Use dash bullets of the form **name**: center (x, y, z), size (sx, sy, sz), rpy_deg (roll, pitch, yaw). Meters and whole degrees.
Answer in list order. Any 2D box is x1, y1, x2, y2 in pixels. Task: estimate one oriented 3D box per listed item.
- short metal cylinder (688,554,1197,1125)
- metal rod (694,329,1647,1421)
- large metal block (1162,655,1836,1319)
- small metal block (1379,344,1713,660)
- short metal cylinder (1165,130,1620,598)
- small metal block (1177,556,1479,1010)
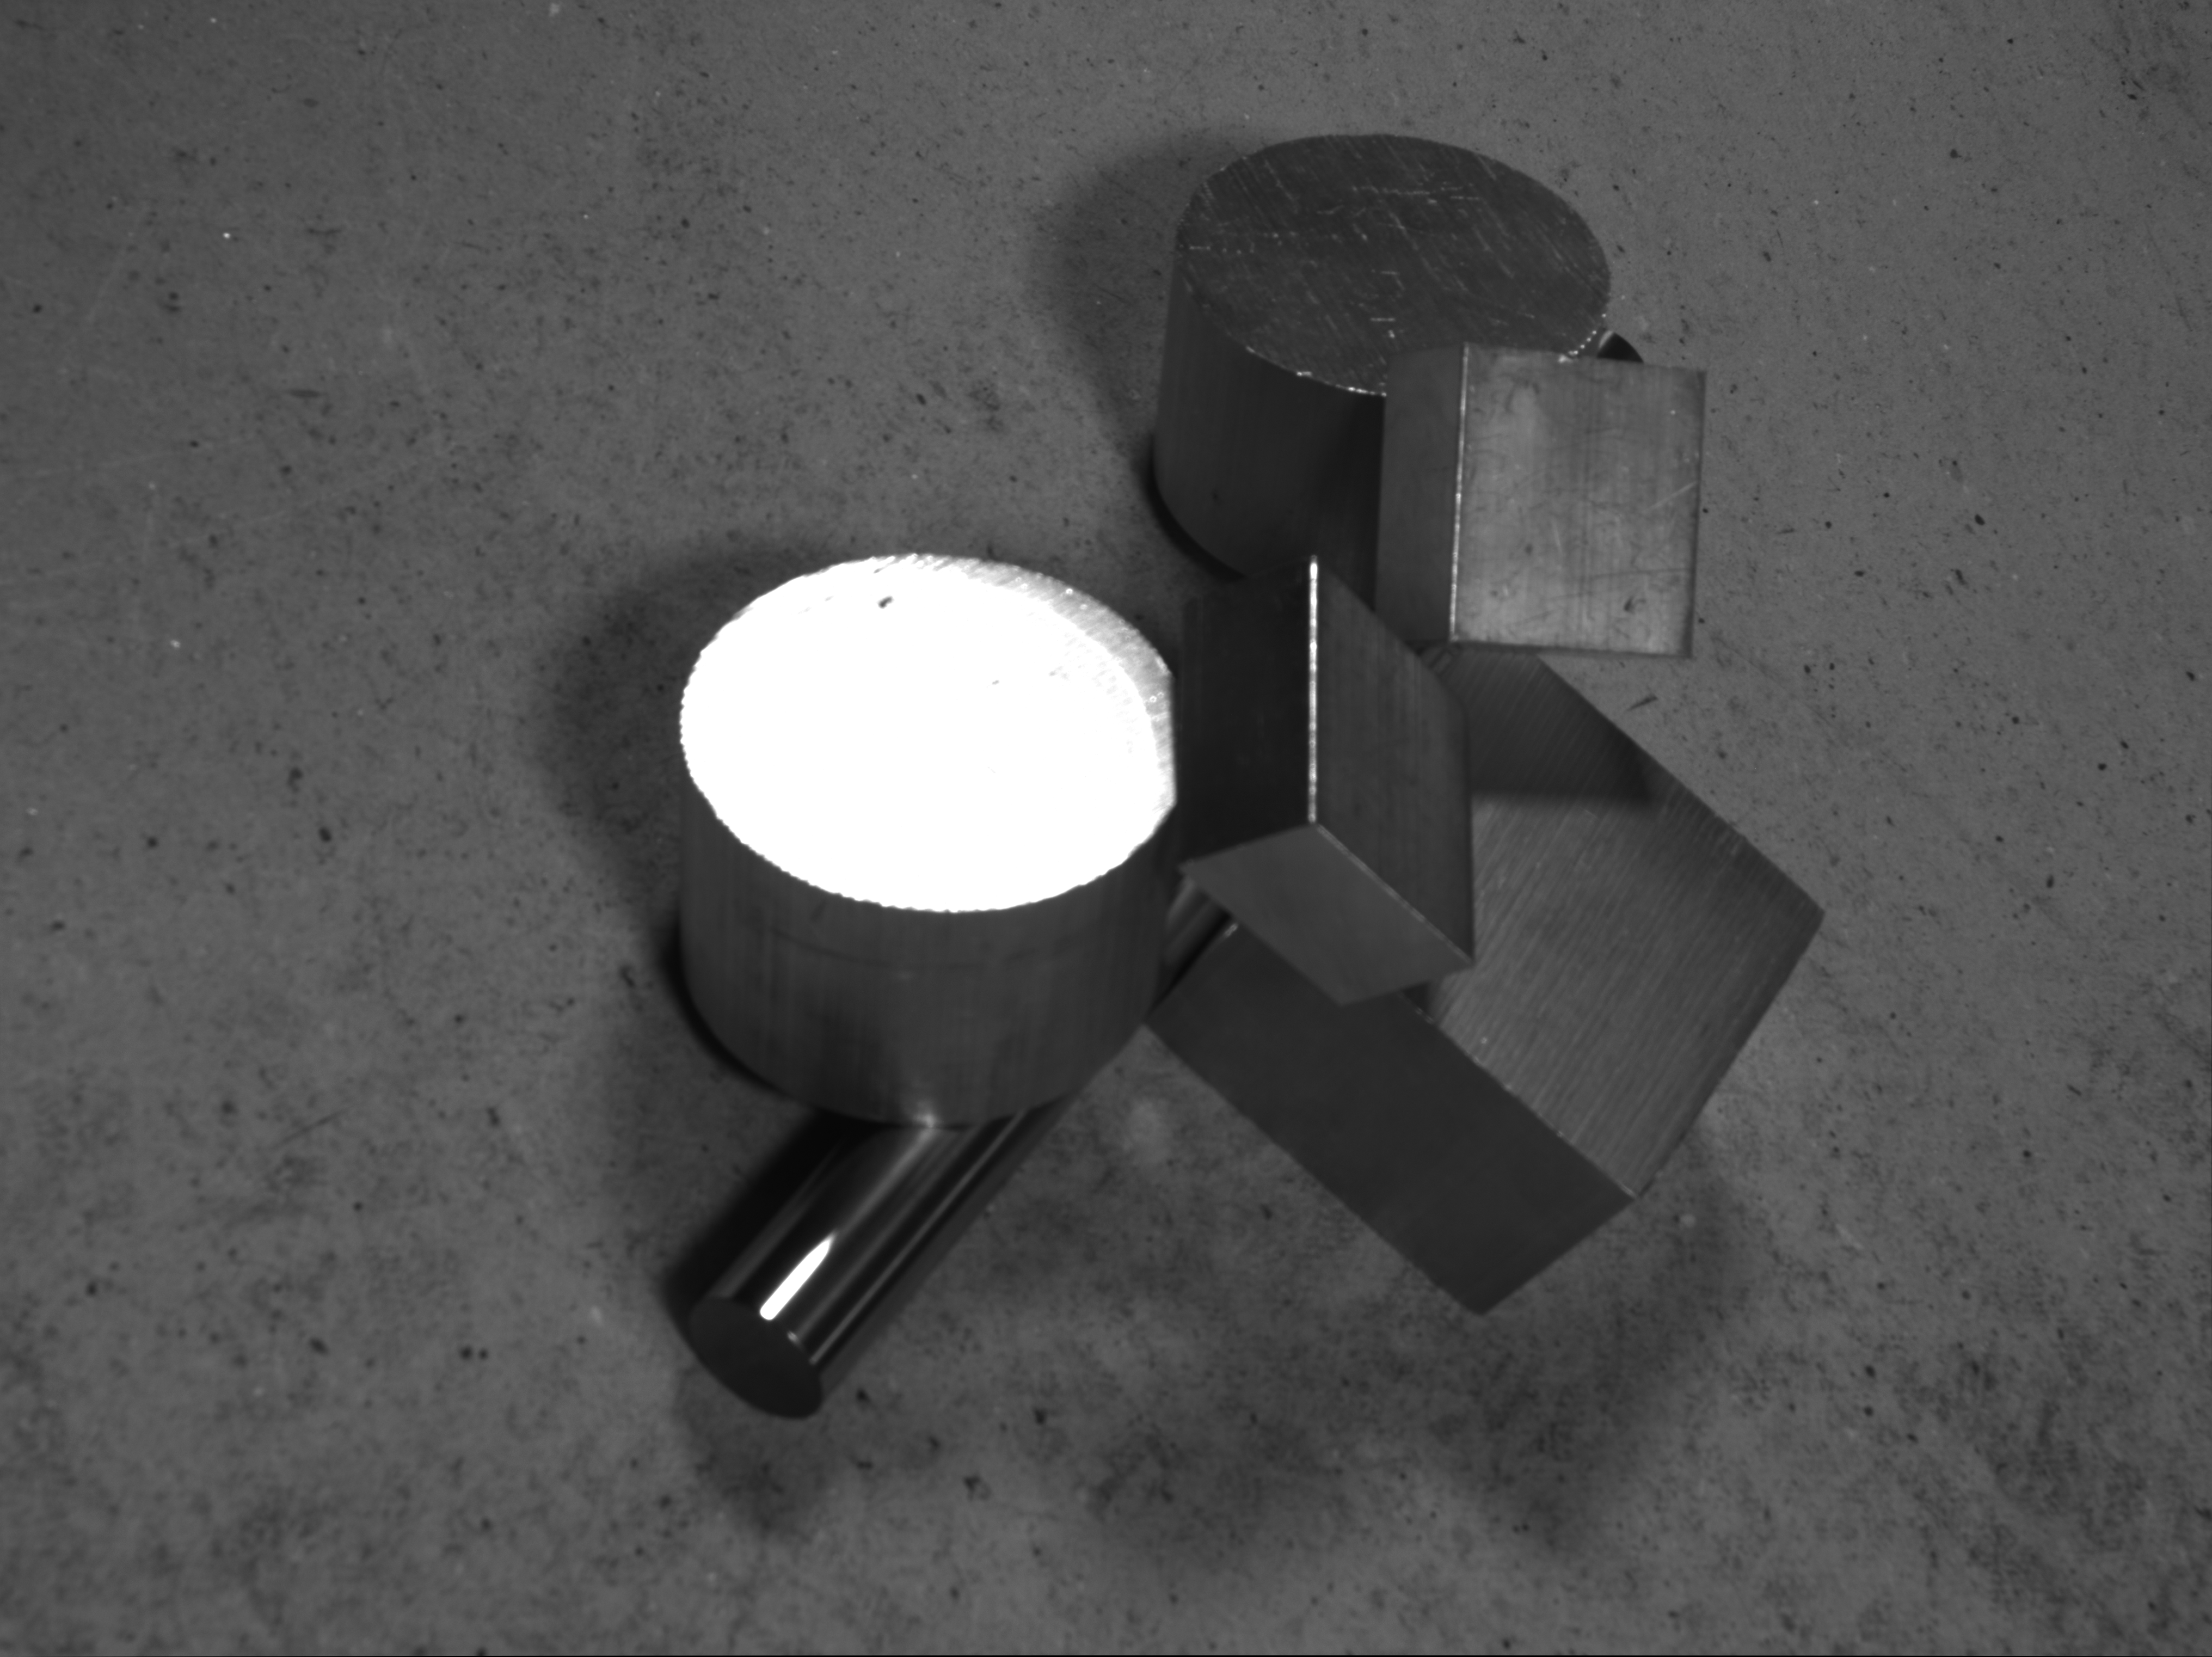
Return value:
- **short metal cylinder**: center (-0.027, 0.001, 0.591), size (0.080, 0.050, 0.080), rpy_deg (3, 45, -3)
- **metal rod**: center (0.024, -0.006, 0.656), size (0.025, 0.025, 0.300), rpy_deg (41, 51, 0)
- **large metal block**: center (0.068, 0.024, 0.644), size (0.080, 0.050, 0.080), rpy_deg (41, 51, 0)
- **small metal block**: center (0.076, -0.055, 0.634), size (0.050, 0.025, 0.050), rpy_deg (2, 91, -27)
- **short metal cylinder**: center (0.052, -0.087, 0.686), size (0.080, 0.050, 0.080), rpy_deg (3, 45, -3)
- **small metal block**: center (0.036, -0.007, 0.584), size (0.050, 0.025, 0.050), rpy_deg (40, 42, -44)
